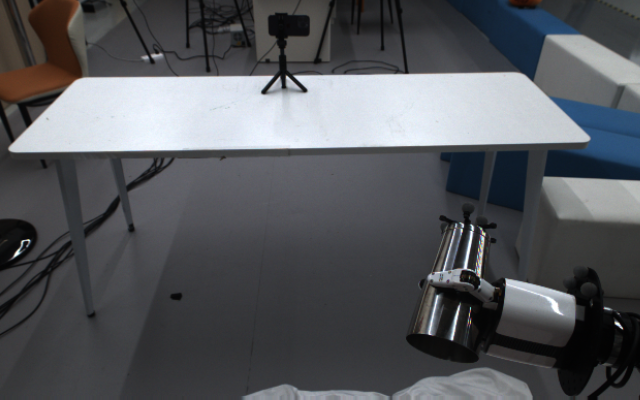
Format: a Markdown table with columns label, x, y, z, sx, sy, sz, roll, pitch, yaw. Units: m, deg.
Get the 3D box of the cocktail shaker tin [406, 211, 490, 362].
| label | x | y | z | sx | sy | sz | roll | pitch | yaw |
| --- | --- | --- | --- | --- | --- | --- | --- | --- | --- |
| cocktail shaker tin | 0.182 | 0.119 | 0.648 | 0.093 | 0.093 | 0.170 | 14 | 61 | 16 |
